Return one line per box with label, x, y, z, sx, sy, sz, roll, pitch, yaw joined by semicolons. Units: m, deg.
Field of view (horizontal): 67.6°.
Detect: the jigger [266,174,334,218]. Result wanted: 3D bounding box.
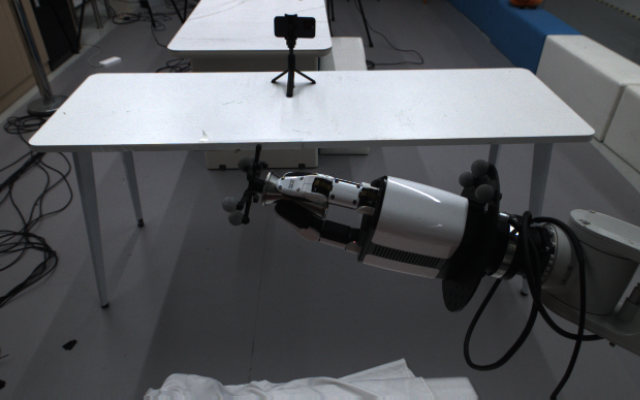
jigger;-0.017;-0.008;0.520;0.071;0.043;0.043;13;36;4
